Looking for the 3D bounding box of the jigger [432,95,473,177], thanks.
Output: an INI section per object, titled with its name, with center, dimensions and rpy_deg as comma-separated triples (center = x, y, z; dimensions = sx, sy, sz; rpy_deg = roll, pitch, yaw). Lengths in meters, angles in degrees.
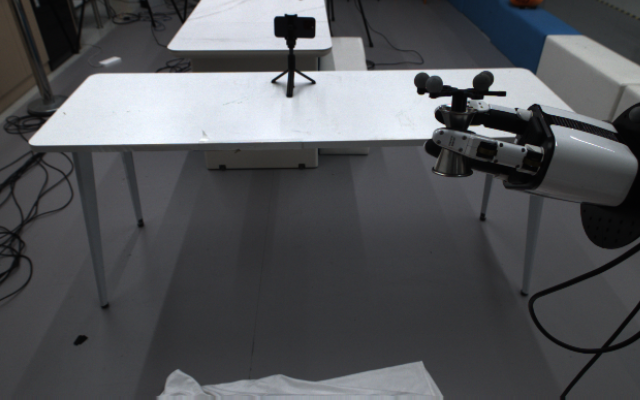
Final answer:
[jigger]
center = 0.143, -0.063, 0.518
dimensions = 0.043, 0.071, 0.043
rpy_deg = 0, 21, 0
